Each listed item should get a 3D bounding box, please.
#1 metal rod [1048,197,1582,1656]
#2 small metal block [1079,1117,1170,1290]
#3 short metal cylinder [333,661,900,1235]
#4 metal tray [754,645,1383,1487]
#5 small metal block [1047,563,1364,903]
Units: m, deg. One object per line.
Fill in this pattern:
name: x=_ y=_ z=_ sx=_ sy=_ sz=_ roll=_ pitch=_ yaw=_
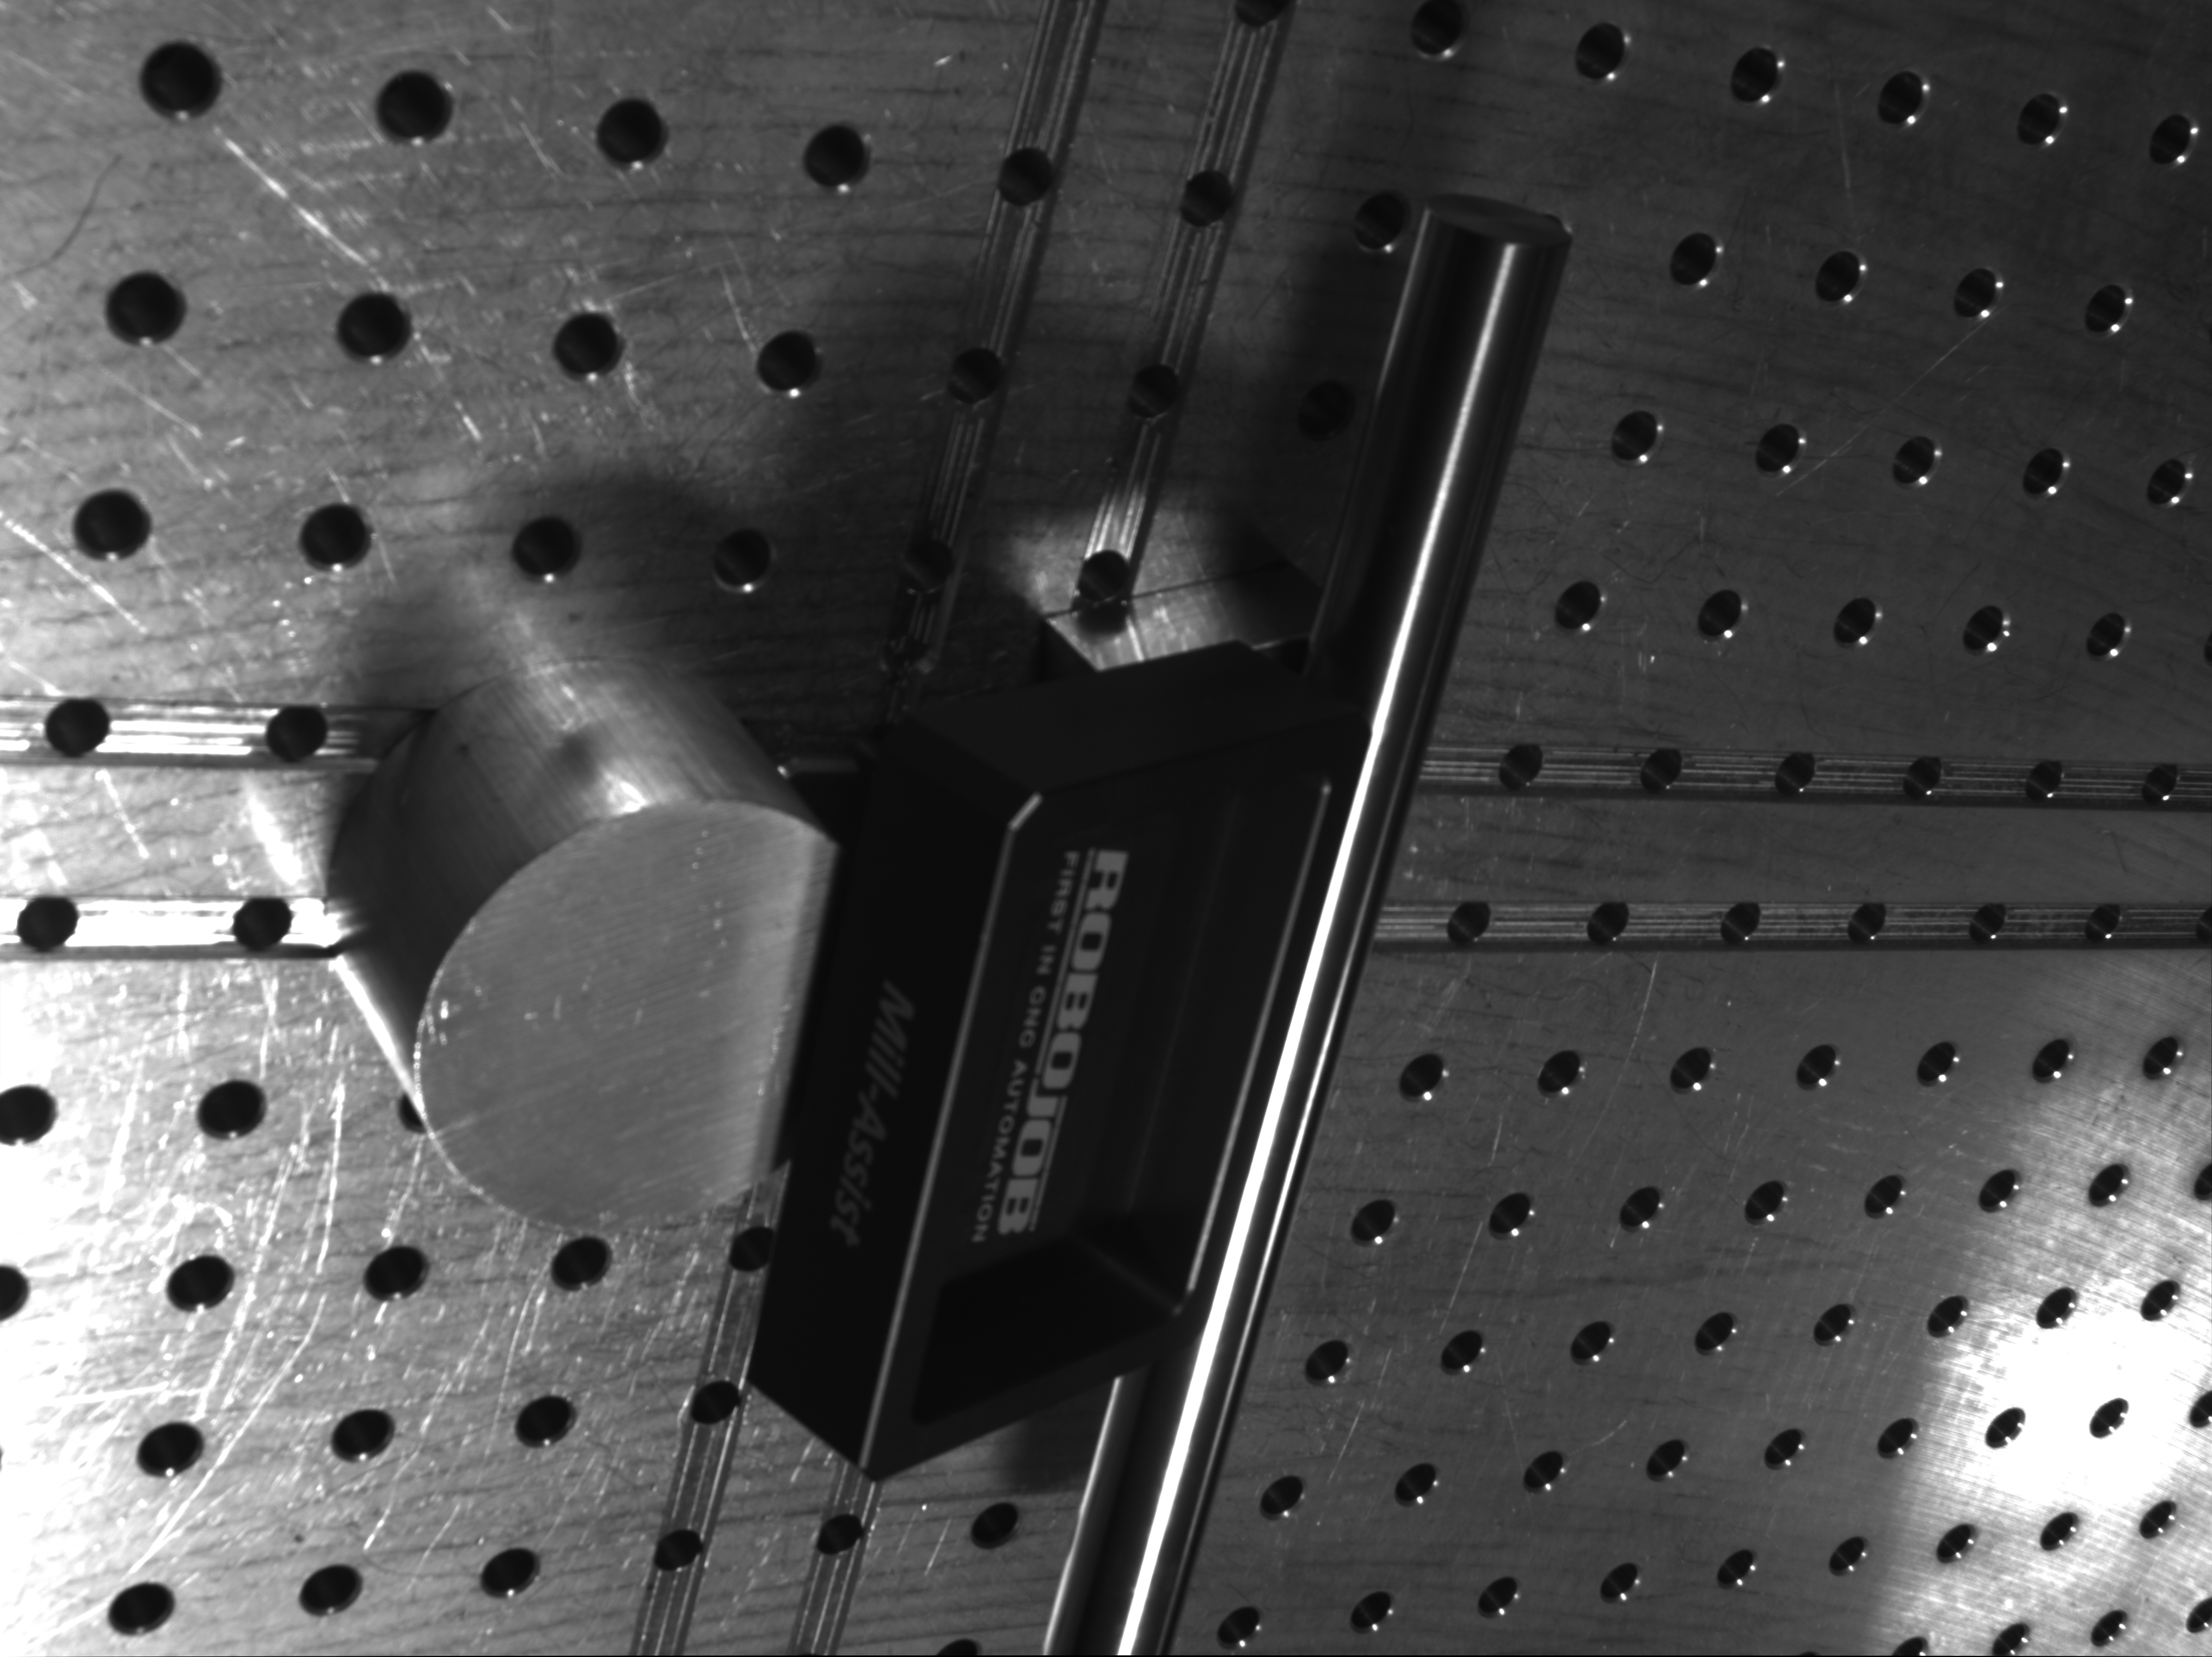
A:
metal rod: x=0.033 y=0.033 z=0.661 sx=0.025 sy=0.025 sz=0.300 roll=-1 pitch=119 yaw=-30
small metal block: x=-0.012 y=0.063 z=0.685 sx=0.050 sy=0.025 sz=0.050 roll=-43 pitch=130 yaw=0
short metal cylinder: x=-0.081 y=0.019 z=0.601 sx=0.080 sy=0.050 sz=0.080 roll=-15 pitch=125 yaw=-22
metal tray: x=-0.006 y=0.039 z=0.619 sx=0.090 sy=0.030 sz=0.130 roll=-15 pitch=127 yaw=-46
small metal block: x=0.018 y=-0.015 z=0.655 sx=0.050 sy=0.025 sz=0.050 roll=-14 pitch=125 yaw=-22
